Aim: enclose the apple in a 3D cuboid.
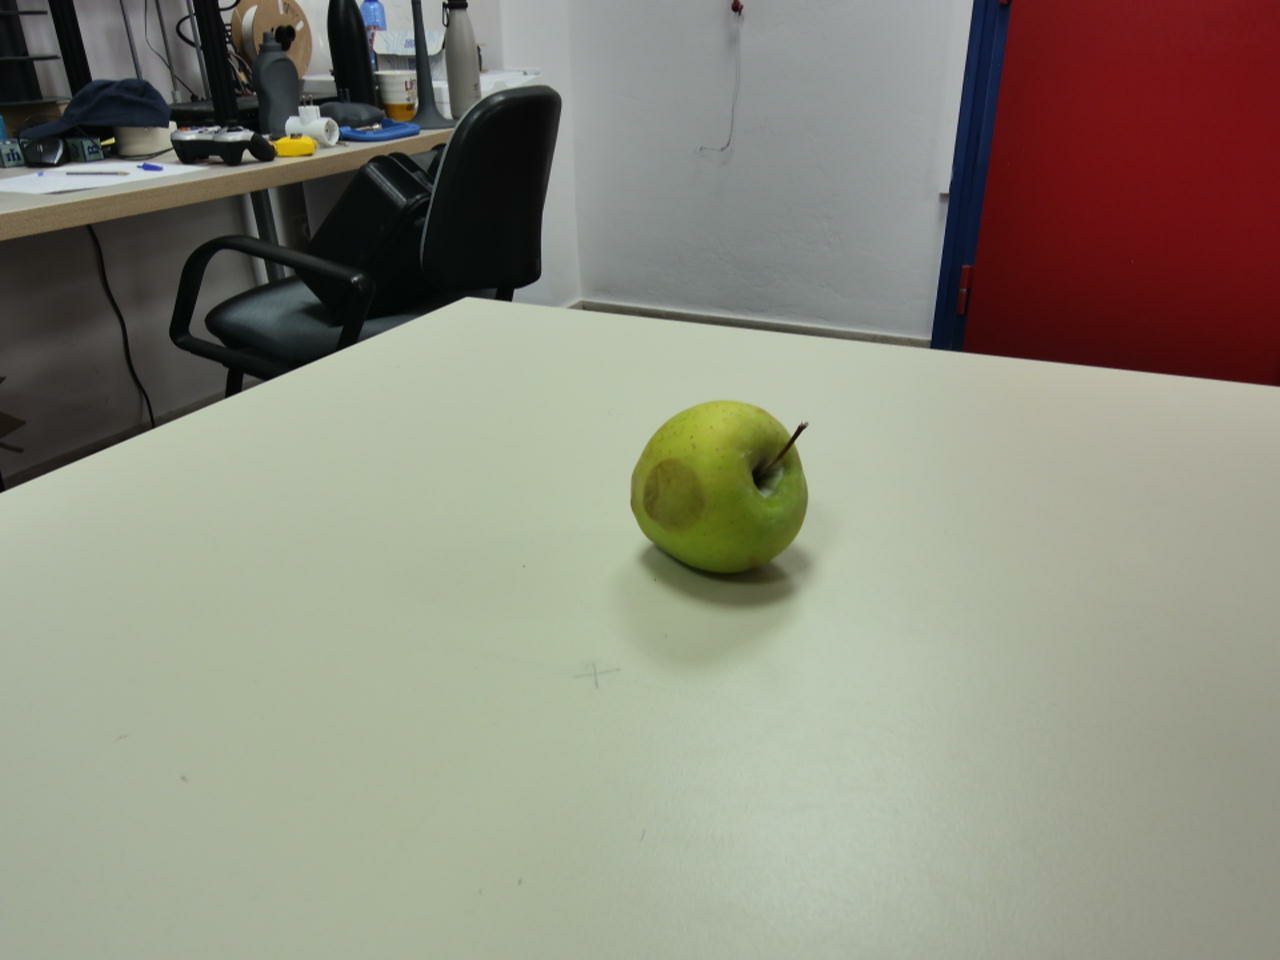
[{"bbox_3d":[0.035,0.002,0.438,0.072,0.075,0.077,-8,25,-18],"label":"apple"}]
